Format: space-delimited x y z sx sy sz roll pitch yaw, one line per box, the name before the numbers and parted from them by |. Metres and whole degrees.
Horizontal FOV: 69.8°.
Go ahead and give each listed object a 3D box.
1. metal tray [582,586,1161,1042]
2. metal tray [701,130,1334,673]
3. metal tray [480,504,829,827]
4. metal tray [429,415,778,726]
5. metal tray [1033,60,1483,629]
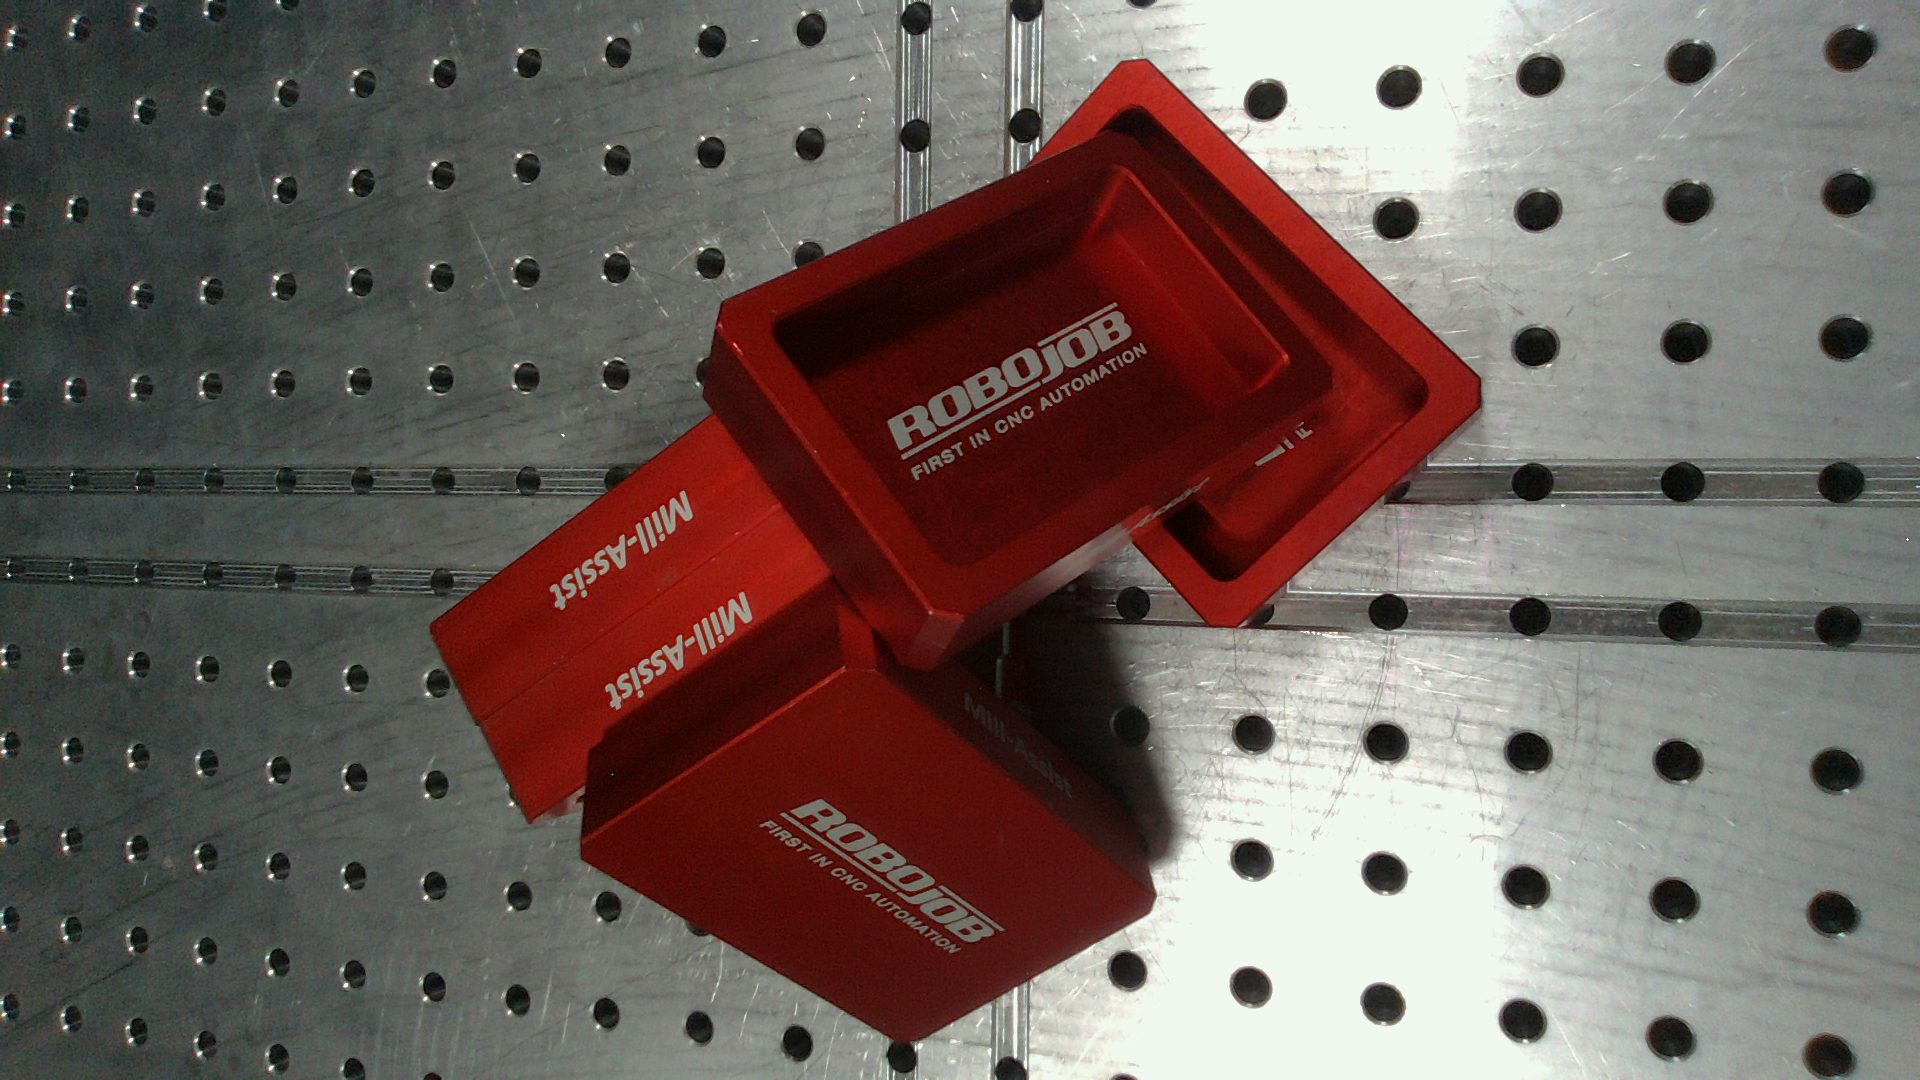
metal tray | -0.020 0.077 0.356 0.090 0.130 0.030 -34 37 17
metal tray | 0.016 -0.039 0.332 0.130 0.030 0.090 -31 76 -28
metal tray | -0.055 0.028 0.382 0.130 0.090 0.030 -34 79 17
metal tray | -0.072 0.003 0.389 0.130 0.090 0.030 -34 79 17
metal tray | 0.062 -0.052 0.372 0.090 0.030 0.130 -45 76 14
